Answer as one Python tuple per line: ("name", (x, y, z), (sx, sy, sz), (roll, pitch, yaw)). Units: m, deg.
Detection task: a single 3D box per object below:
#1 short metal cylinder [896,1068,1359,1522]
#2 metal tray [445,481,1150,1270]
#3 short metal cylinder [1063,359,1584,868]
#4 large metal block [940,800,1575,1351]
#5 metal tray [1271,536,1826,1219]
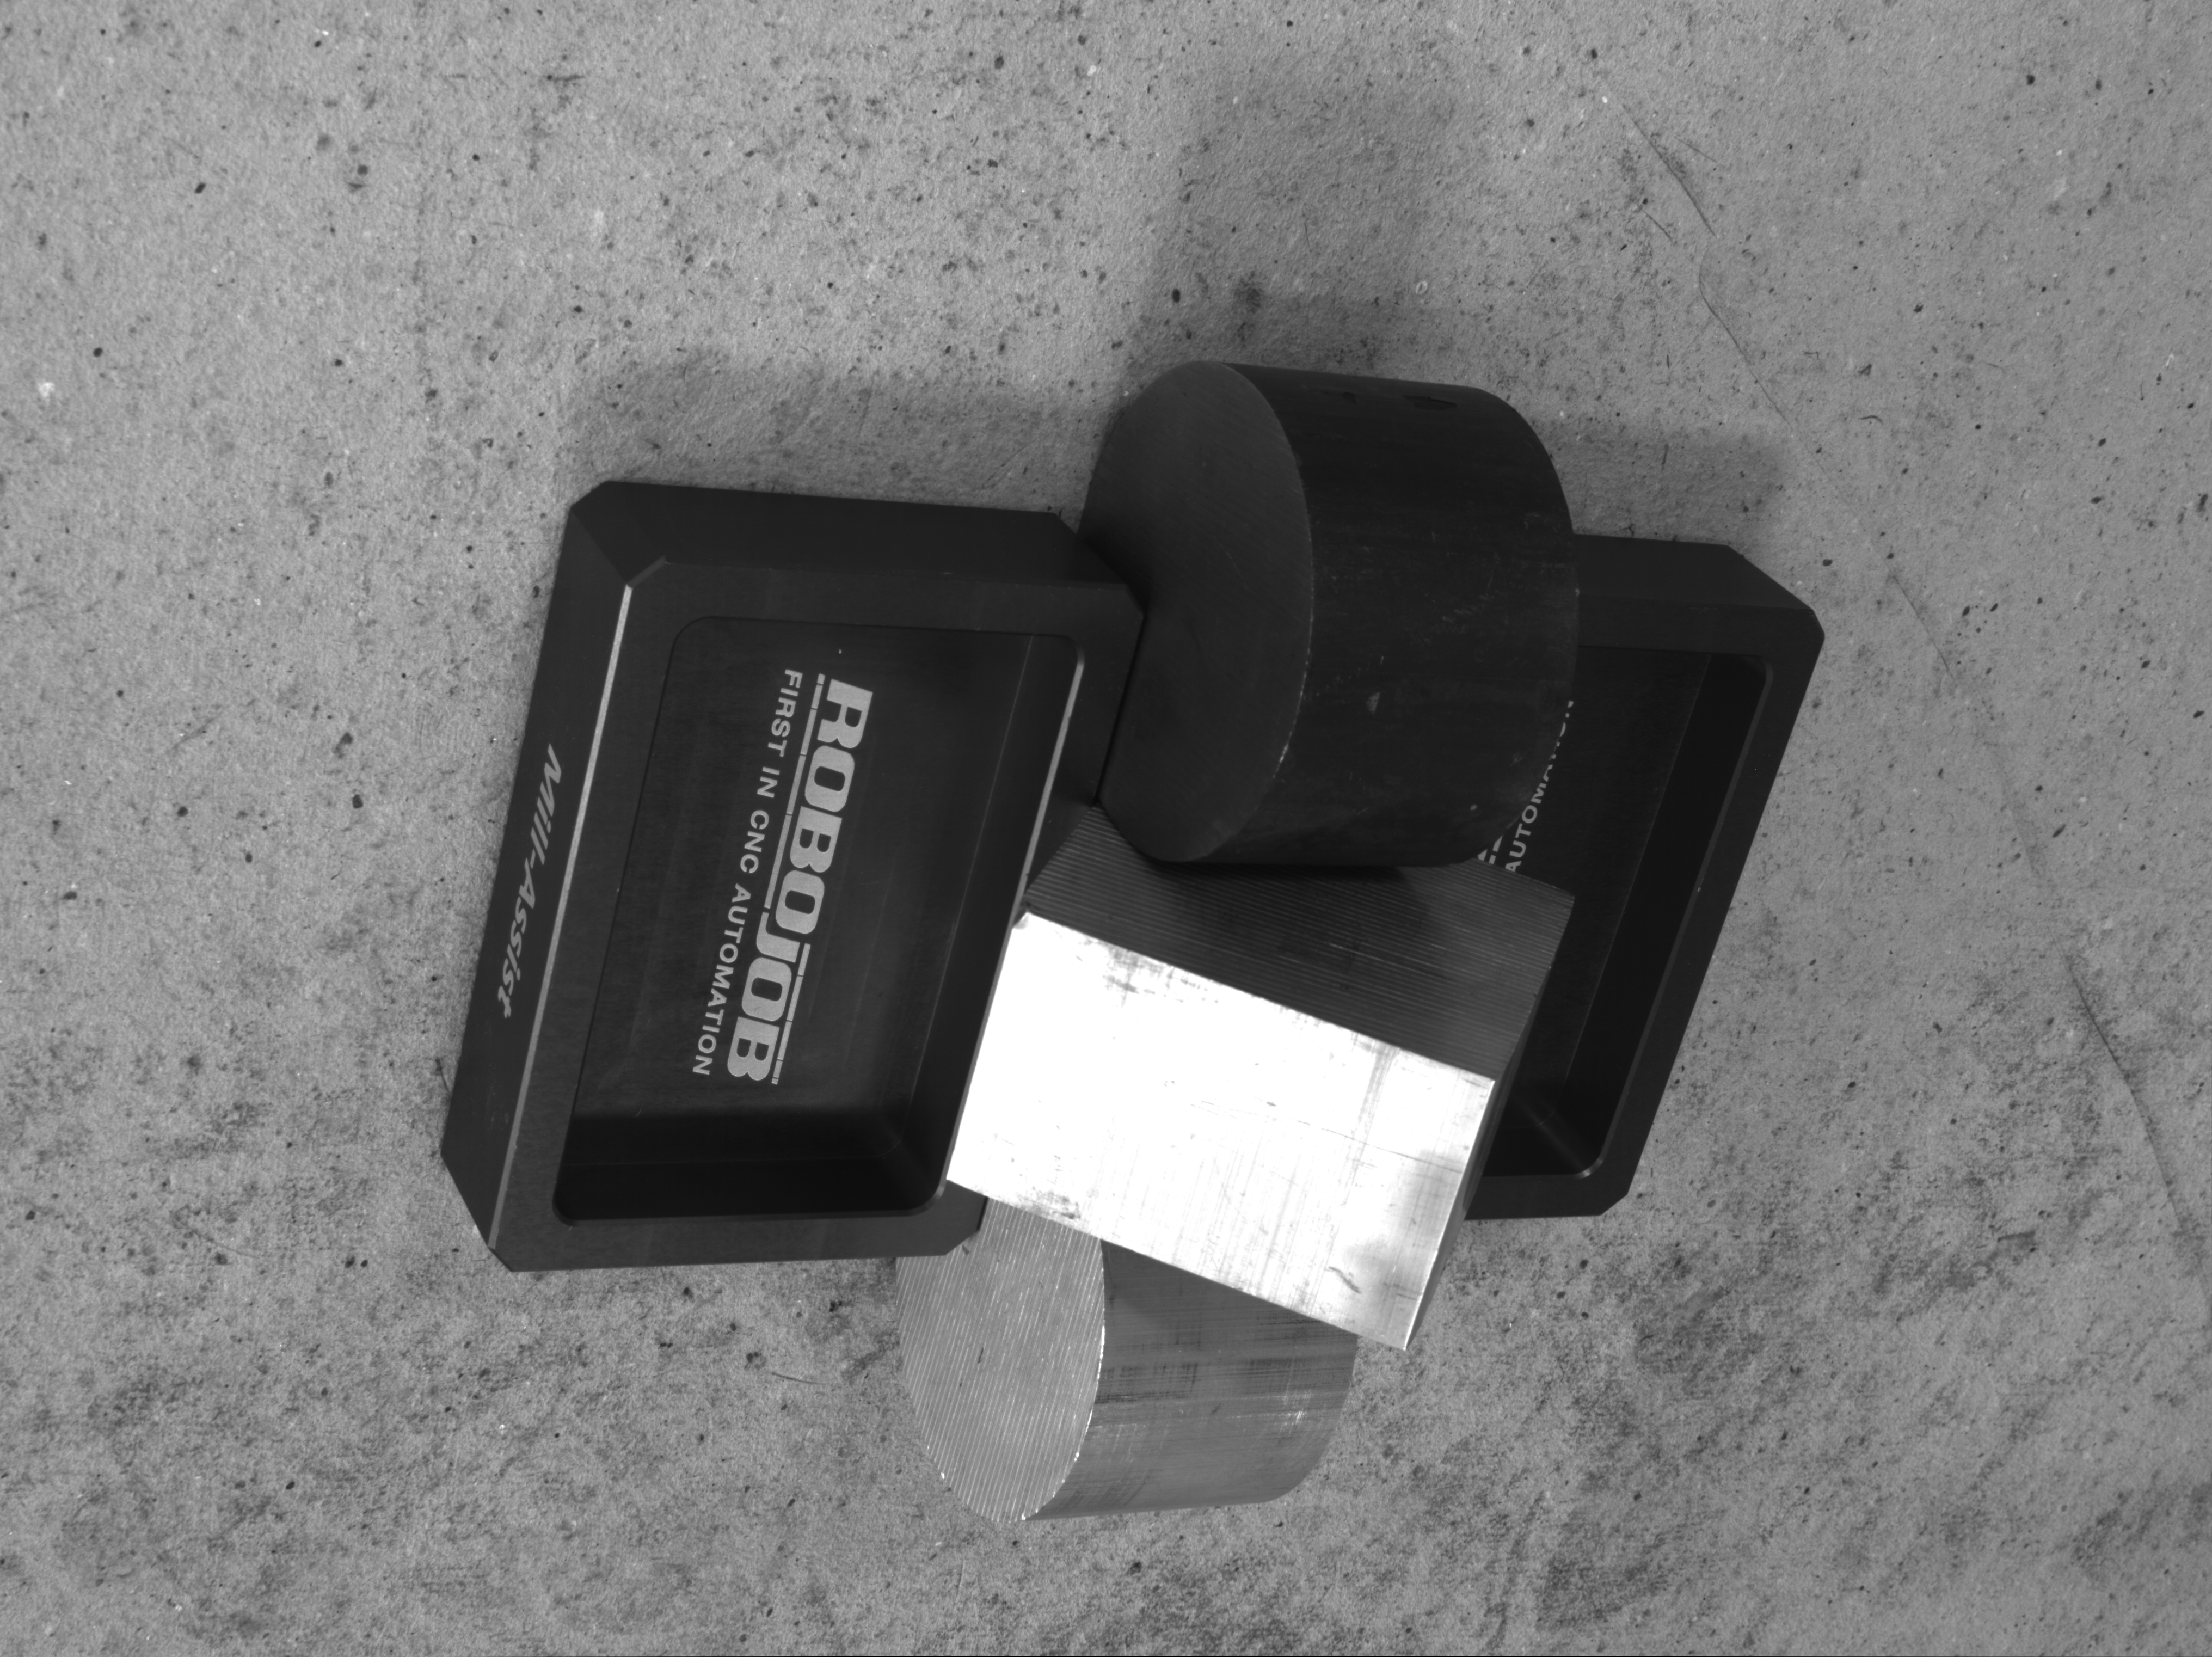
("short metal cylinder", (0.003, 0.081, 0.653), (0.050, 0.080, 0.080), (2, 117, -29))
("metal tray", (-0.053, 0.010, 0.613), (0.090, 0.030, 0.130), (1, 117, -29))
("short metal cylinder", (0.034, -0.034, 0.600), (0.050, 0.080, 0.080), (2, 117, -29))
("large metal block", (0.027, 0.033, 0.611), (0.080, 0.080, 0.050), (19, 115, 8))
("metal tray", (0.071, 0.010, 0.679), (0.090, 0.030, 0.130), (1, 117, -29))
